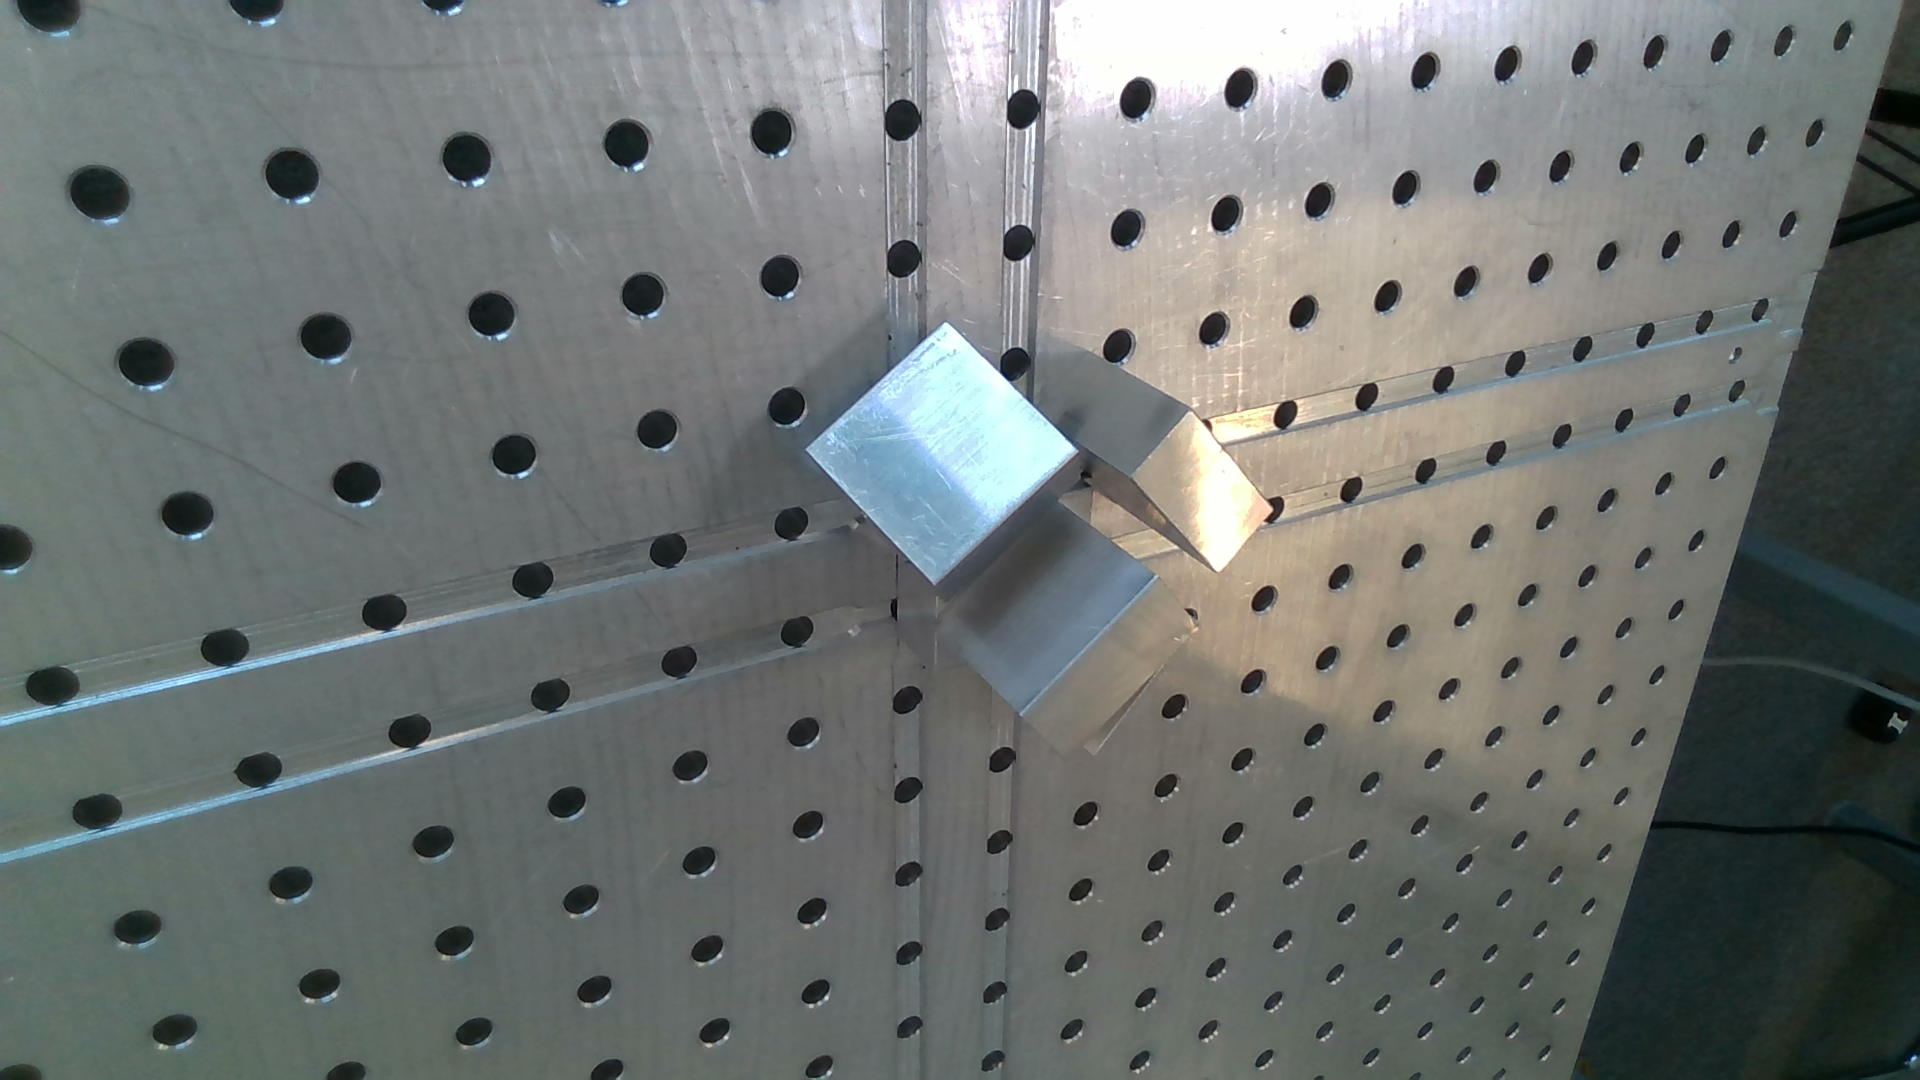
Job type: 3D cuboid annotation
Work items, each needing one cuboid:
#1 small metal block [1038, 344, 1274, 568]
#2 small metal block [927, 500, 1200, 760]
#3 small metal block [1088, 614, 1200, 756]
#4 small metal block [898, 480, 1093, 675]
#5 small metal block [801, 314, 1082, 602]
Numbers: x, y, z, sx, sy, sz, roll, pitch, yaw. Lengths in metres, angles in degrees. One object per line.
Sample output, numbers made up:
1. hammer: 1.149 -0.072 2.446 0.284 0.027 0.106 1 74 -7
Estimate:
1. small metal block: 0.055 -0.024 0.397 0.025 0.050 0.050 -49 129 0
2. small metal block: 0.027 0.022 0.372 0.050 0.050 0.025 -44 130 -3
3. small metal block: 0.049 0.037 0.425 0.050 0.025 0.050 -53 169 4
4. small metal block: 0.009 0.006 0.400 0.050 0.025 0.050 -14 123 -25
5. small metal block: -0.004 -0.021 0.358 0.050 0.050 0.025 -43 166 -5
